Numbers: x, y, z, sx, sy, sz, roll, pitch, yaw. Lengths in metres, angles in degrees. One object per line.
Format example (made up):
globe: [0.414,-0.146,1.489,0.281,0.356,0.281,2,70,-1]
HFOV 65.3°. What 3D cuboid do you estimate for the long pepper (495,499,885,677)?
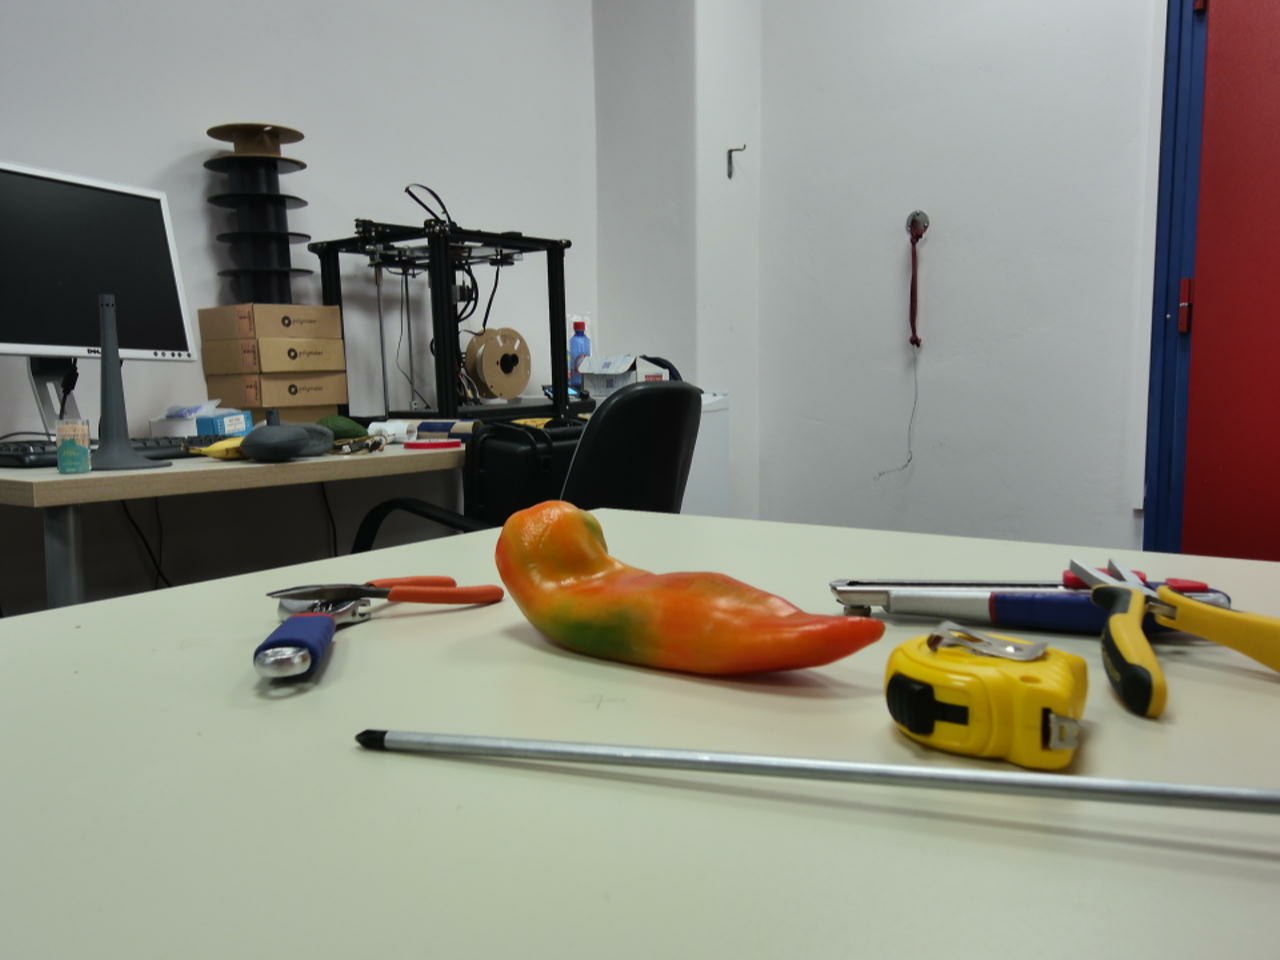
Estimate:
long pepper: [0.012,0.047,0.443,0.199,0.065,0.066,4,4,43]
